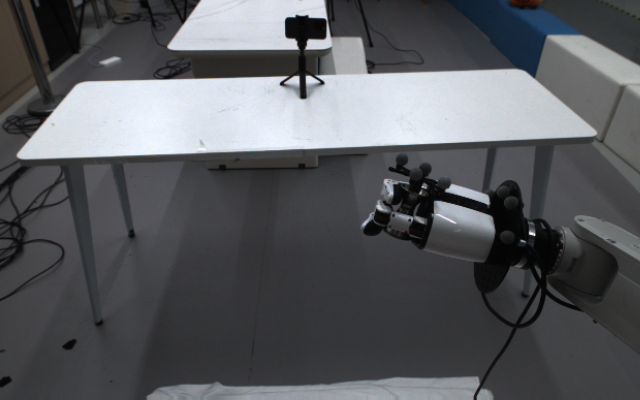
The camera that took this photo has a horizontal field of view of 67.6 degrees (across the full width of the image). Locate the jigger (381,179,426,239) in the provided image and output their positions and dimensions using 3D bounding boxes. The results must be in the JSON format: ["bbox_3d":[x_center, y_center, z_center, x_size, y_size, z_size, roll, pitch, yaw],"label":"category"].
[{"bbox_3d":[0.119,0.016,0.668,0.043,0.071,0.043,18,17,-6],"label":"jigger"}]
